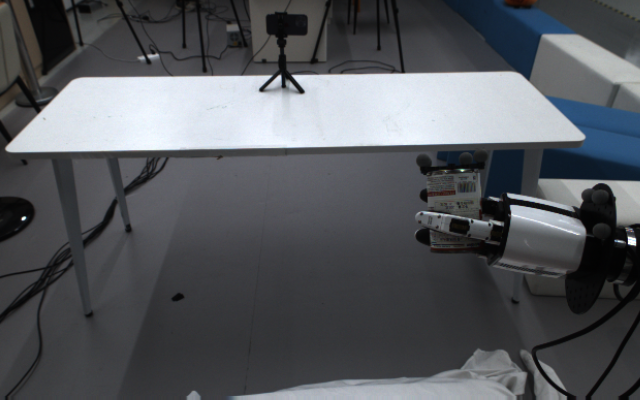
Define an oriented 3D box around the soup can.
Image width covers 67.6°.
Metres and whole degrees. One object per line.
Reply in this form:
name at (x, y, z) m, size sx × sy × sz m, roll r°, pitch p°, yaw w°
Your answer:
soup can at (0.173, 0.014, 0.613) m, size 0.067 × 0.101 × 0.067 m, roll -3°, pitch -1°, yaw 0°
